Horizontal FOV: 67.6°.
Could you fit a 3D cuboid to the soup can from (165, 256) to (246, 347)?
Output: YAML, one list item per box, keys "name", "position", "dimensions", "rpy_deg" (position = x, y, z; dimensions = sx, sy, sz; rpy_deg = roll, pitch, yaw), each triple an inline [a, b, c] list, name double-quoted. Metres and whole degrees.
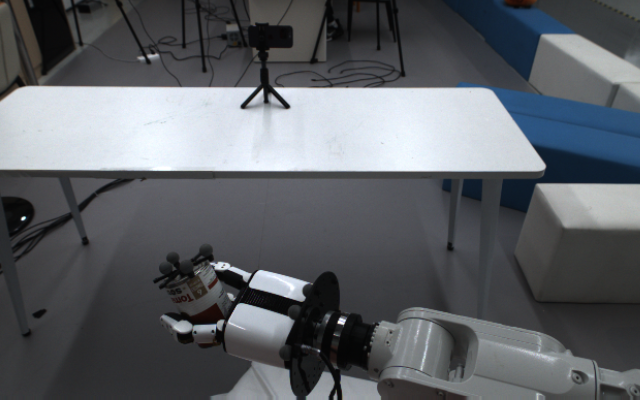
- name: "soup can"
  position: [-0.157, 0.141, 0.660]
  dimensions: [0.067, 0.101, 0.067]
  rpy_deg: [-24, 15, 7]
